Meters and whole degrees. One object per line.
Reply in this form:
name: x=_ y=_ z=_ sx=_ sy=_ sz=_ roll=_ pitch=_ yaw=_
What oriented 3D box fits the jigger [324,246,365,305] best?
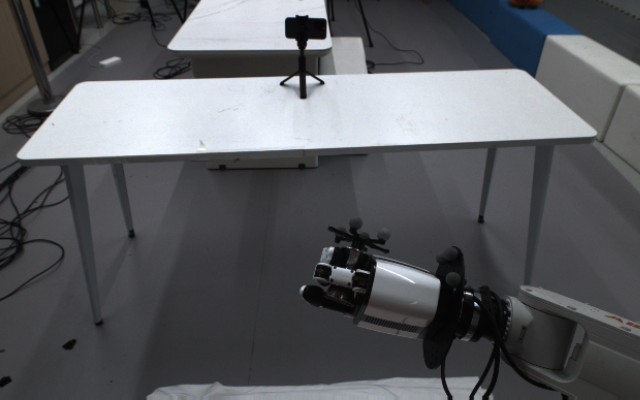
jigger: x=0.036 y=0.097 z=0.630 sx=0.043 sy=0.043 sz=0.071 roll=15 pitch=70 yaw=18
